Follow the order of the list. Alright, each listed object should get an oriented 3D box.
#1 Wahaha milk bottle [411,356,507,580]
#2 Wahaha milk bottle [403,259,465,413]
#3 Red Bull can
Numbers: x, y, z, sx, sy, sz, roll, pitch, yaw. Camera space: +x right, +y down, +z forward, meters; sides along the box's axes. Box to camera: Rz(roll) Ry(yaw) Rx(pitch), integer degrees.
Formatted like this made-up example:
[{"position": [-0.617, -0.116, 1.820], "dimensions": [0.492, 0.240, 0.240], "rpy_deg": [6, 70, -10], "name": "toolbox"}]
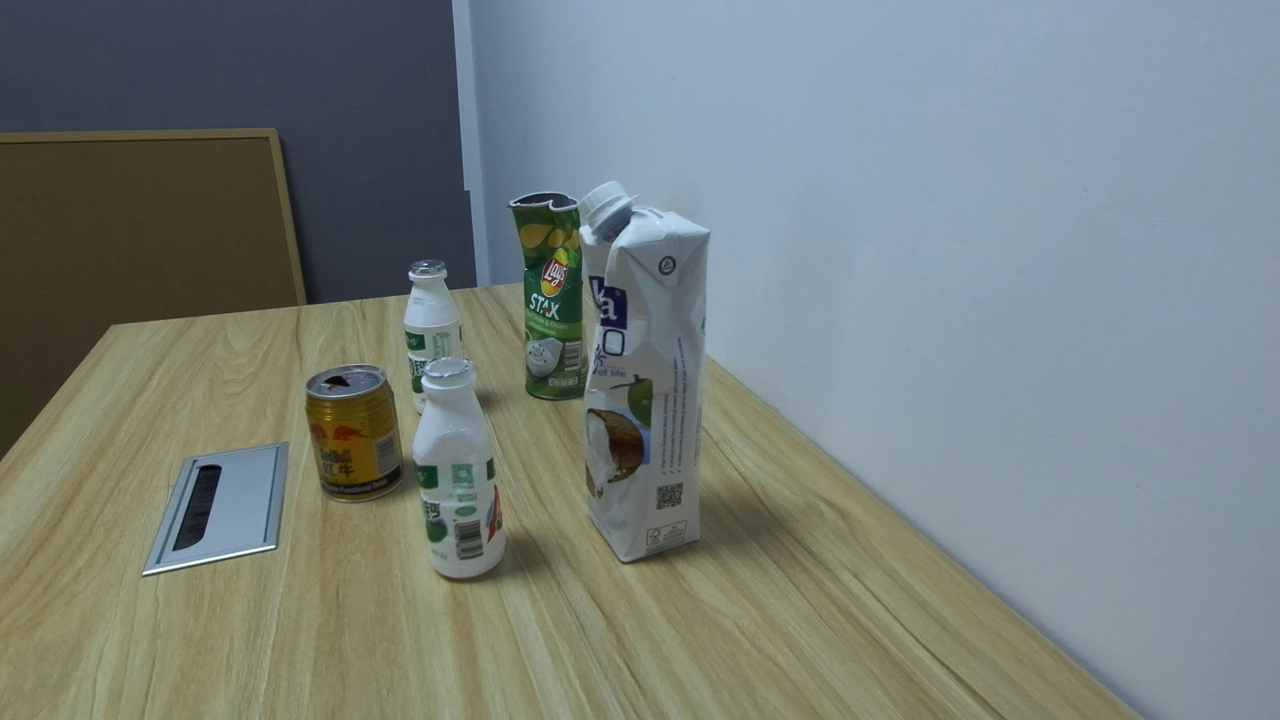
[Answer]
[{"position": [-0.121, 0.071, 0.468], "dimensions": [0.055, 0.149, 0.055], "rpy_deg": [-1, 24, 1], "name": "Wahaha milk bottle"}, {"position": [-0.196, -0.020, 0.675], "dimensions": [0.053, 0.147, 0.053], "rpy_deg": [0, 22, 0], "name": "Wahaha milk bottle"}, {"position": [-0.228, 0.057, 0.567], "dimensions": [0.067, 0.093, 0.067], "rpy_deg": [0, 24, 0], "name": "Red Bull can"}]
